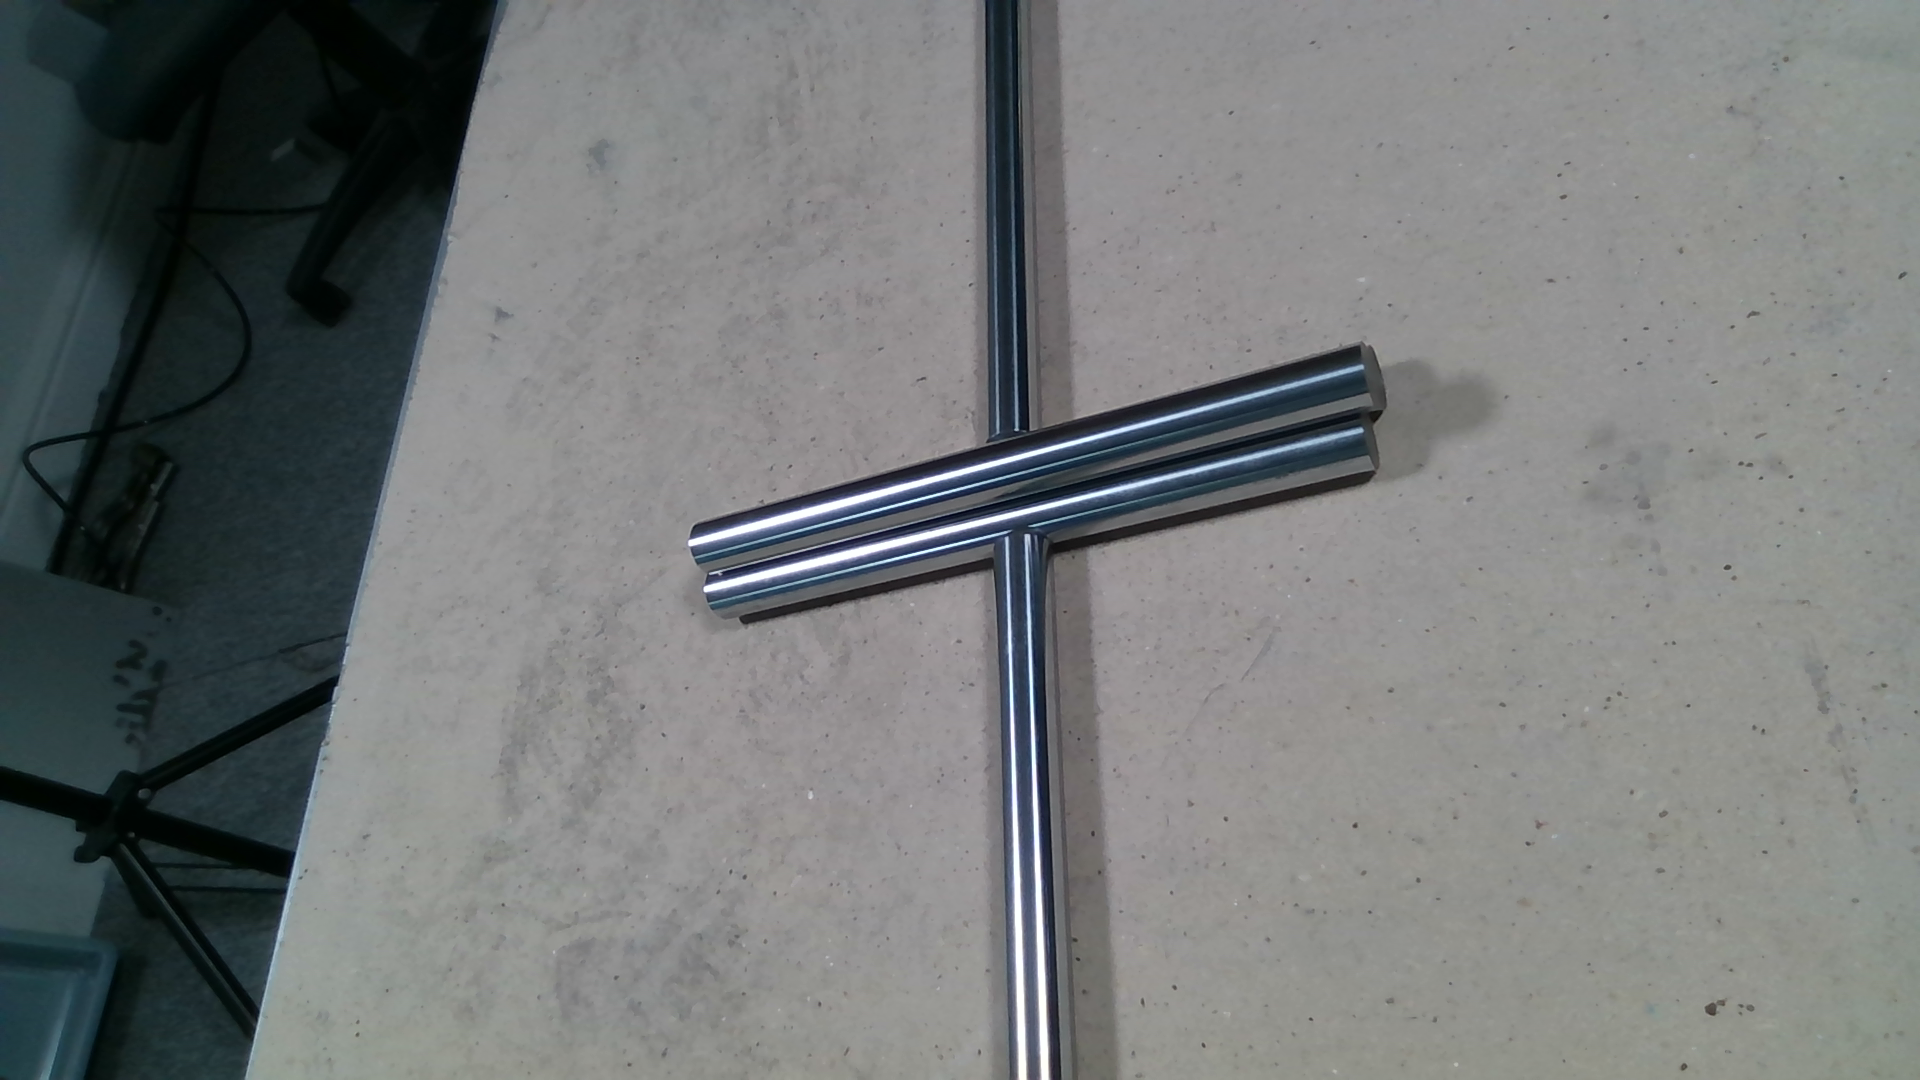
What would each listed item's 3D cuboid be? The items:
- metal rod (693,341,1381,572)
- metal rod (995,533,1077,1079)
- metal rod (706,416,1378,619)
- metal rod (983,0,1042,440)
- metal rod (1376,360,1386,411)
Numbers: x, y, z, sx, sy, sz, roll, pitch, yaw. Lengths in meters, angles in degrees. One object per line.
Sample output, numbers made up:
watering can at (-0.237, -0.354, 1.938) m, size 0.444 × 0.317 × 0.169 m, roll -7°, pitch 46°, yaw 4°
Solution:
metal rod at (0.018, -0.028, 0.564) m, size 0.300 × 0.025 × 0.025 m, roll -13°, pitch 59°, yaw 25°
metal rod at (0.027, 0.135, 0.497) m, size 0.025 × 0.025 × 0.299 m, roll -15°, pitch 59°, yaw 25°
metal rod at (0.021, -0.007, 0.577) m, size 0.300 × 0.025 × 0.025 m, roll -13°, pitch 59°, yaw 25°
metal rod at (0.024, -0.173, 0.662) m, size 0.025 × 0.025 × 0.299 m, roll -14°, pitch 59°, yaw 25°
metal rod at (0.026, -0.030, 0.586) m, size 0.300 × 0.025 × 0.025 m, roll -13°, pitch 59°, yaw 25°
